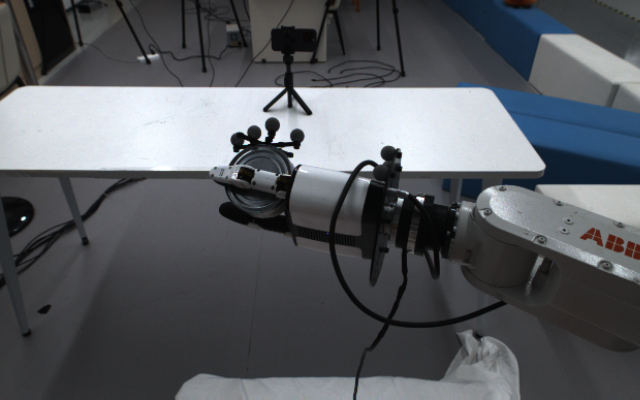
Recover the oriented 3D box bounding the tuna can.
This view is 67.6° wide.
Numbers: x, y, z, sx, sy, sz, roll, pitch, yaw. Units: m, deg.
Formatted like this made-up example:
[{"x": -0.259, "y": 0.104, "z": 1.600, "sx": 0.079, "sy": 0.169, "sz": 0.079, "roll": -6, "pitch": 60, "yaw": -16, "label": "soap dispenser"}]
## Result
[{"x": -0.070, "y": -0.022, "z": 0.586, "sx": 0.085, "sy": 0.034, "sz": 0.085, "roll": -5, "pitch": 70, "yaw": 14, "label": "tuna can"}]
